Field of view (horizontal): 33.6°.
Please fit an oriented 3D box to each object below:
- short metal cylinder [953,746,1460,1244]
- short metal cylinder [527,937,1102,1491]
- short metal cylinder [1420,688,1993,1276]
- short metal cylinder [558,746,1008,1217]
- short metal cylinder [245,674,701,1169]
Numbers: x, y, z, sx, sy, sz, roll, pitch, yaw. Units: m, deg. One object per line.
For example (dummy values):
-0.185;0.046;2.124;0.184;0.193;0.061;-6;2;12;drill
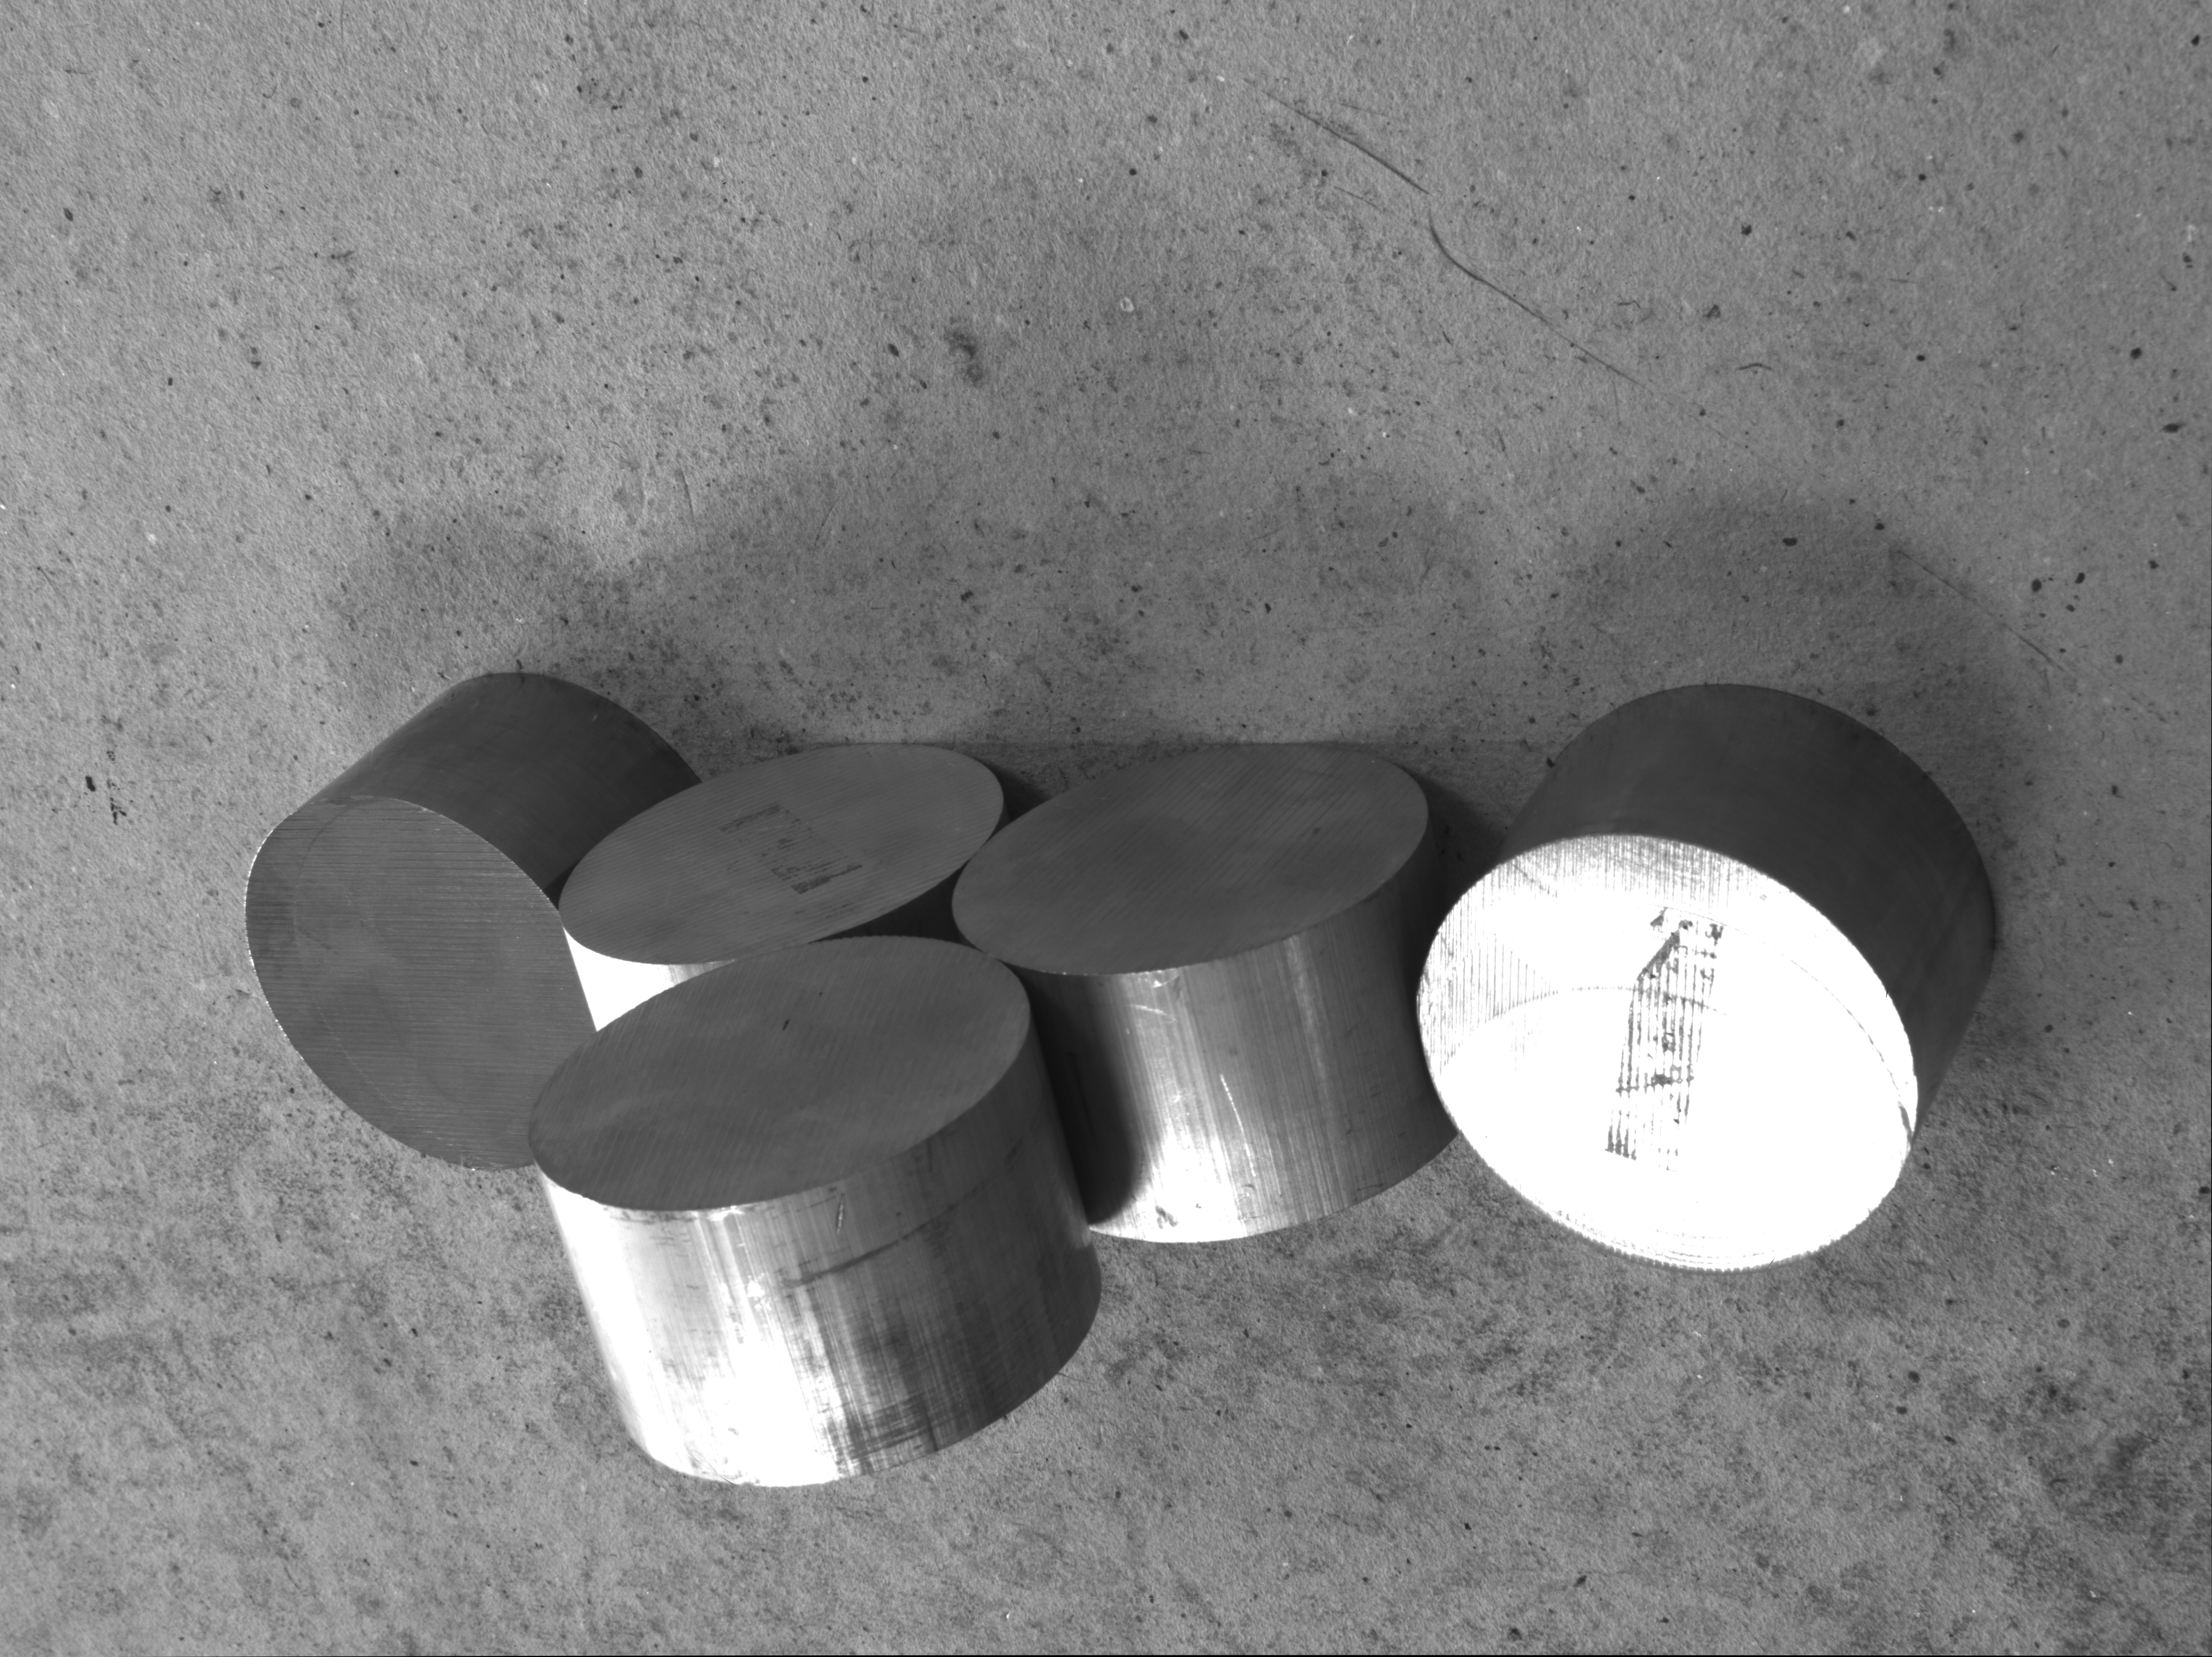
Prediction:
0.019;0.026;0.613;0.080;0.080;0.050;0;118;28;short metal cylinder
-0.045;0.059;0.578;0.080;0.080;0.050;1;120;28;short metal cylinder
0.097;0.024;0.589;0.080;0.050;0.080;13;124;21;short metal cylinder
-0.051;0.026;0.650;0.080;0.080;0.050;0;118;28;short metal cylinder
-0.116;0.018;0.699;0.080;0.050;0.080;13;124;21;short metal cylinder
